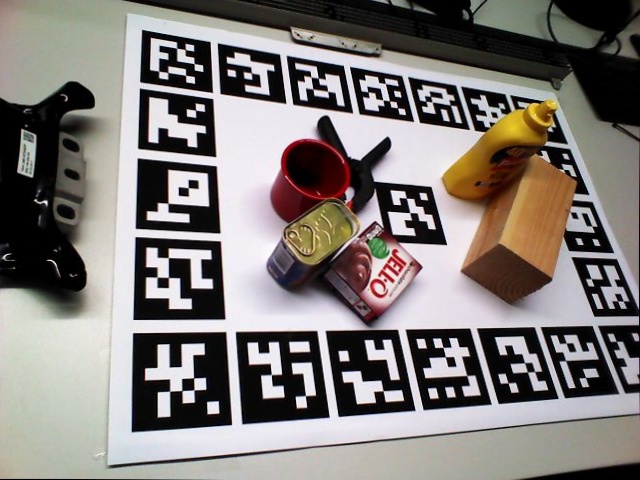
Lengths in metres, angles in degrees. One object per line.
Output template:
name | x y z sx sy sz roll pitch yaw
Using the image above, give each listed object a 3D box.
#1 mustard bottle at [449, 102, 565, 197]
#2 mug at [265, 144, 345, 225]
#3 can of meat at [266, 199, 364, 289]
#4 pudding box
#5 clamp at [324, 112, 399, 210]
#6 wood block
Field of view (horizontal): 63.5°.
mustard bottle | 0.277 -0.133 0.747 0.096 0.193 0.058 -2 65 -22
mug | -0.021 -0.076 0.691 0.093 0.082 0.116 23 59 -10
can of meat | -0.010 0.007 0.618 0.101 0.084 0.058 -29 79 -32
pudding box | 0.075 0.043 0.667 0.090 0.039 0.113 46 55 5
clamp | 0.049 -0.106 0.741 0.122 0.037 0.164 21 60 -13
wood block | 0.308 -0.014 0.764 0.090 0.091 0.205 35 54 0
